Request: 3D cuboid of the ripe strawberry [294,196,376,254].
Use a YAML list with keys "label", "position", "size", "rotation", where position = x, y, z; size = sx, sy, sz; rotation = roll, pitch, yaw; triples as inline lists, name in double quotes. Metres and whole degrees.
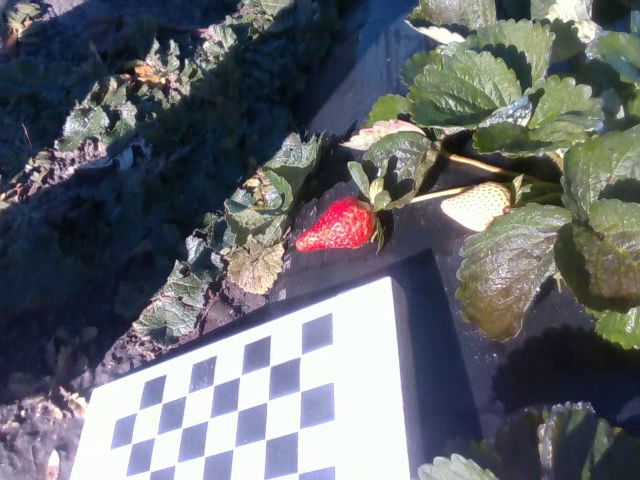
- label: "ripe strawberry"
  position: [0.010, -0.008, 0.427]
  size: [0.068, 0.048, 0.040]
  rotation: [-32, -49, 8]
